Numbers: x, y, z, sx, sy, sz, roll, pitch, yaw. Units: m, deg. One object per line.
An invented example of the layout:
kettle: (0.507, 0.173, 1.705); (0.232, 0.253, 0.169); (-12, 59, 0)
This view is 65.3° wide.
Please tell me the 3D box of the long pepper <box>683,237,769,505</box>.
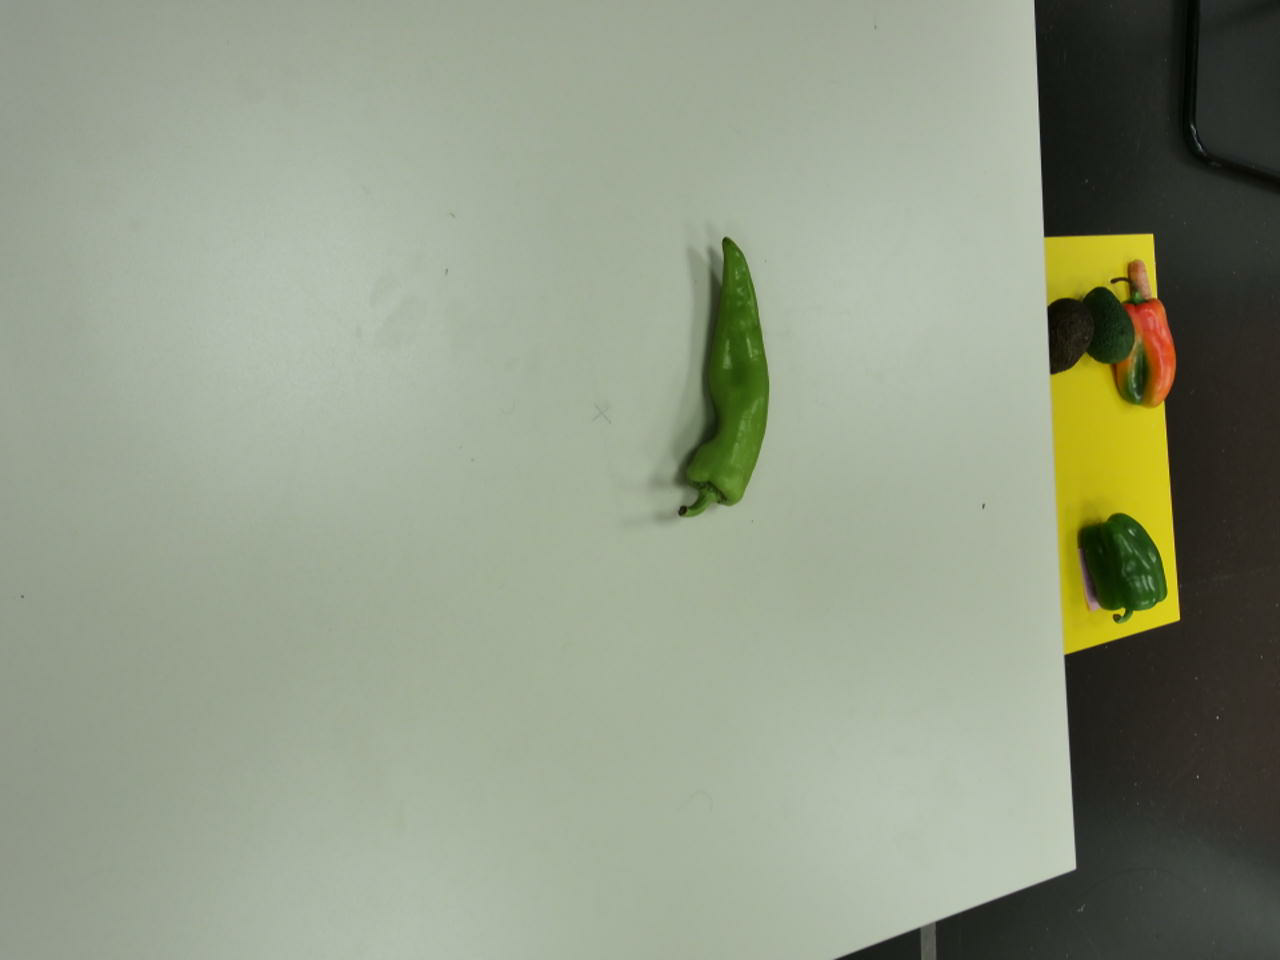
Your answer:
long pepper: (0.072, -0.073, 0.745); (0.065, 0.045, 0.204); (12, 84, -27)
